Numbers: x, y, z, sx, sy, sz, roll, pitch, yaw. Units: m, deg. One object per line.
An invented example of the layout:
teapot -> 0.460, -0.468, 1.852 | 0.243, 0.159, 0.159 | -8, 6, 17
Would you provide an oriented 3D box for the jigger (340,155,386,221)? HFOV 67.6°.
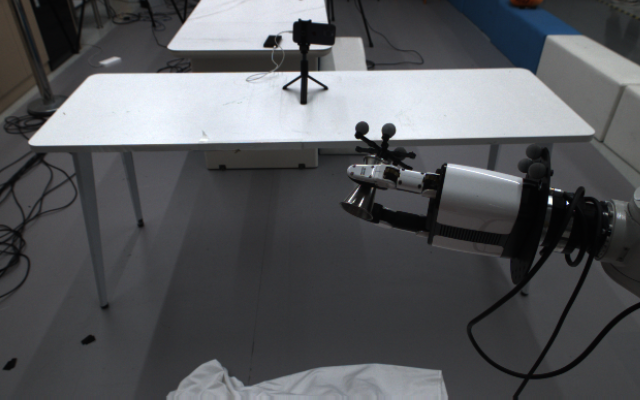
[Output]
jigger -> 0.057, -0.018, 0.587 | 0.043, 0.043, 0.071 | 20, 73, 24
